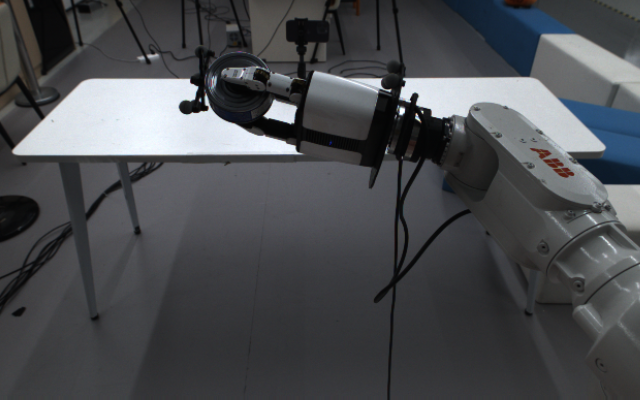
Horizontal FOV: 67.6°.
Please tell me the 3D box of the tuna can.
[{"bbox_3d":[-0.101,-0.143,0.614,0.085,0.034,0.085,1,74,-5],"label":"tuna can"}]
